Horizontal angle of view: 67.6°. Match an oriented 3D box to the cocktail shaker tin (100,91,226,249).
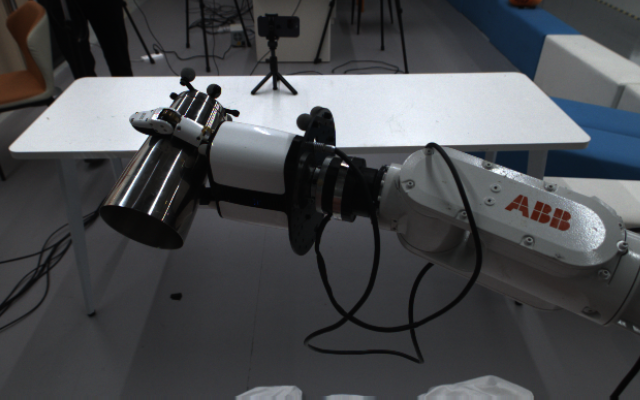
[{"bbox_3d":[-0.165,-0.039,0.547,0.093,0.093,0.170,10,60,12],"label":"cocktail shaker tin"}]
